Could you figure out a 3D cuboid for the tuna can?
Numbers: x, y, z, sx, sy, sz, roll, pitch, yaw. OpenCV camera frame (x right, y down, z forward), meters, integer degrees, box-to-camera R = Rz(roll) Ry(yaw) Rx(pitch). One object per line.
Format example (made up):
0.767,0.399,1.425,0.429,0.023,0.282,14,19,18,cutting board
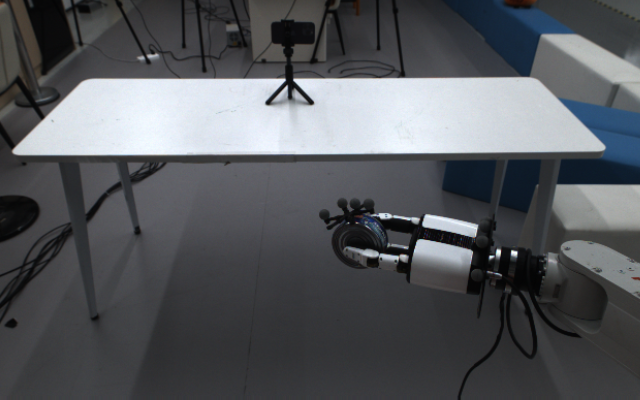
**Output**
0.066,0.072,0.767,0.085,0.085,0.034,15,30,18,tuna can
